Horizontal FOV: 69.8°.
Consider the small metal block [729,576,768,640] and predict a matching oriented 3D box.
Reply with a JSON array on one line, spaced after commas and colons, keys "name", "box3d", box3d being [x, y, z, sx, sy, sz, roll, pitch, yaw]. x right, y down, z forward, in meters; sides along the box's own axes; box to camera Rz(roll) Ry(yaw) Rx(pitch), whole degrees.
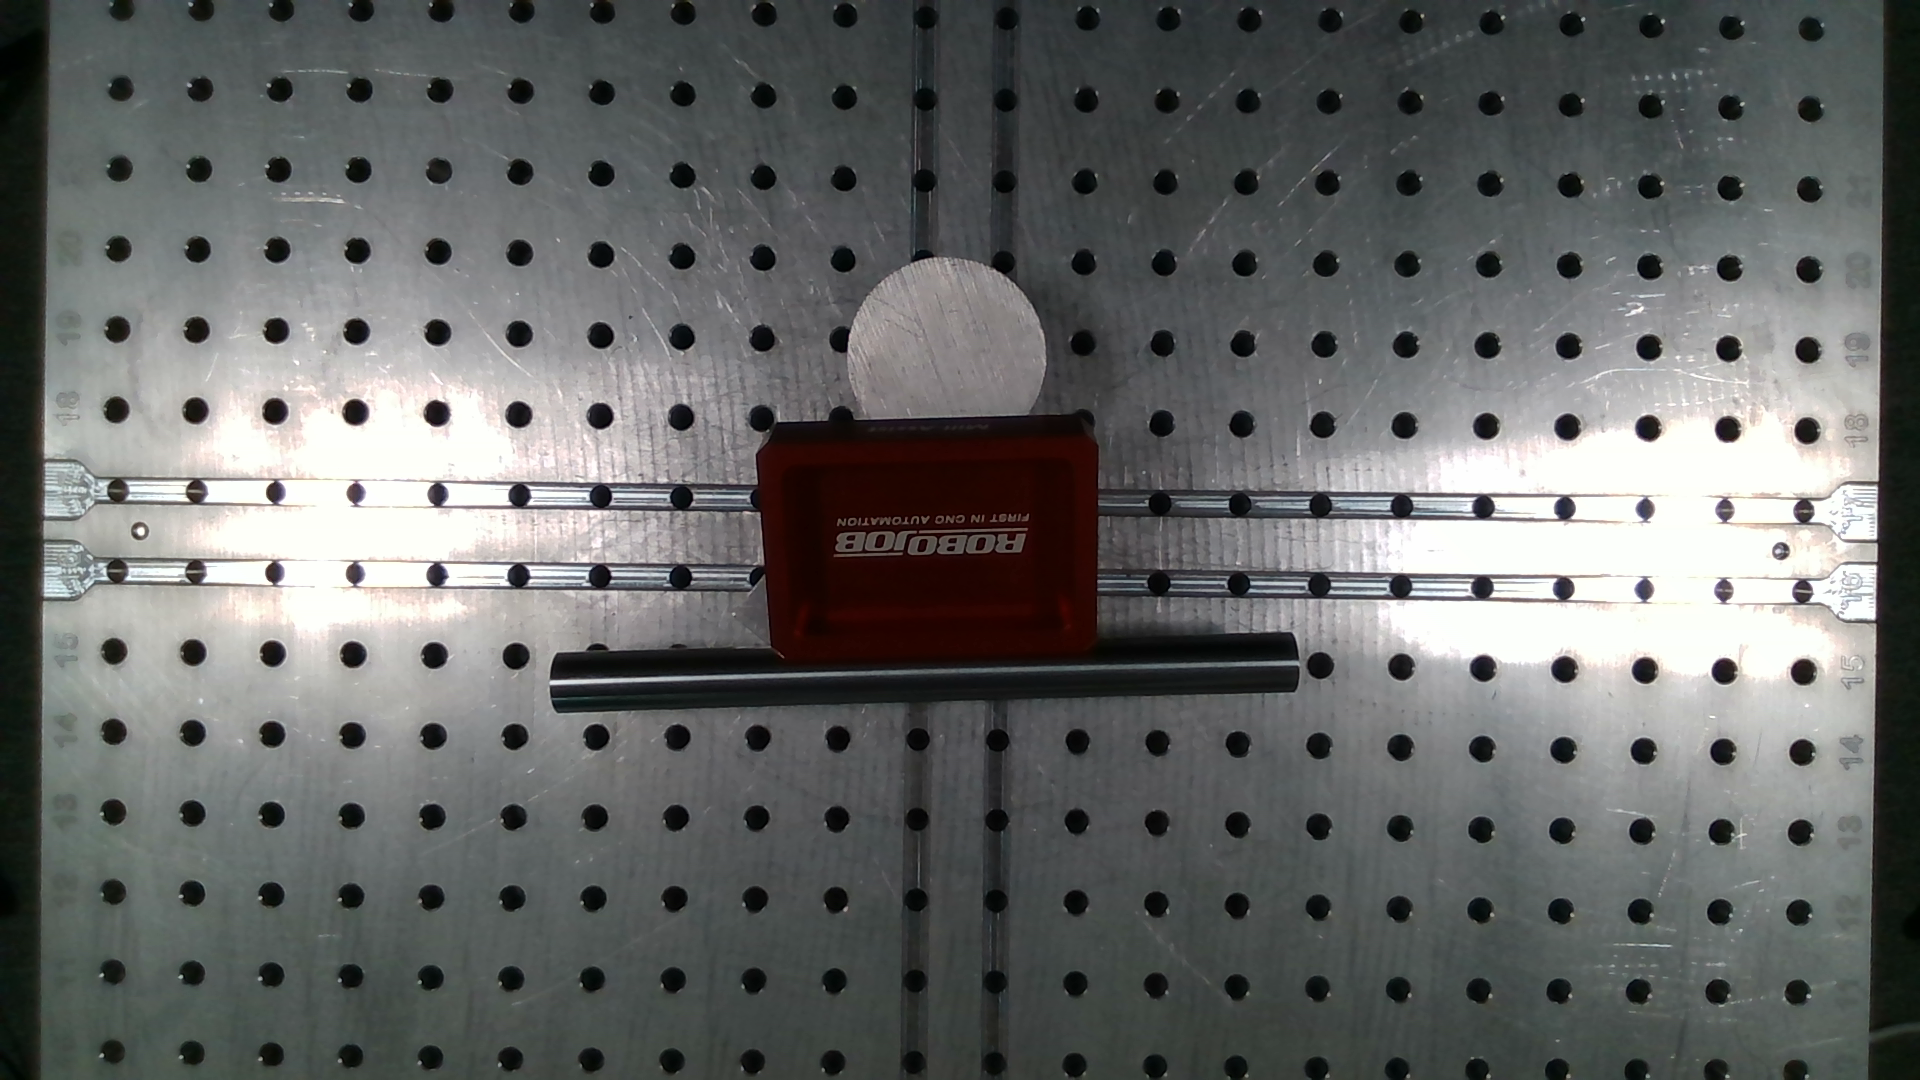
[{"name": "small metal block", "box3d": [-0.062, 0.027, 0.588, 0.050, 0.025, 0.050, 39, 90, 0]}]

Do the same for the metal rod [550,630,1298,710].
[{"name": "metal rod", "box3d": [-0.014, 0.053, 0.564, 0.300, 0.025, 0.025, -1, 90, 0]}]

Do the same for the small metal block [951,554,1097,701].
[{"name": "small metal block", "box3d": [0.027, 0.037, 0.590, 0.050, 0.025, 0.050, -15, 90, 0]}]

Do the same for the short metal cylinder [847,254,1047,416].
[{"name": "short metal cylinder", "box3d": [-0.005, -0.075, 0.575, 0.080, 0.050, 0.080, 0, 90, 0]}]

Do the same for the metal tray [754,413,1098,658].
[{"name": "metal tray", "box3d": [-0.012, -0.002, 0.547, 0.130, 0.030, 0.090, -2, 110, 0]}]
